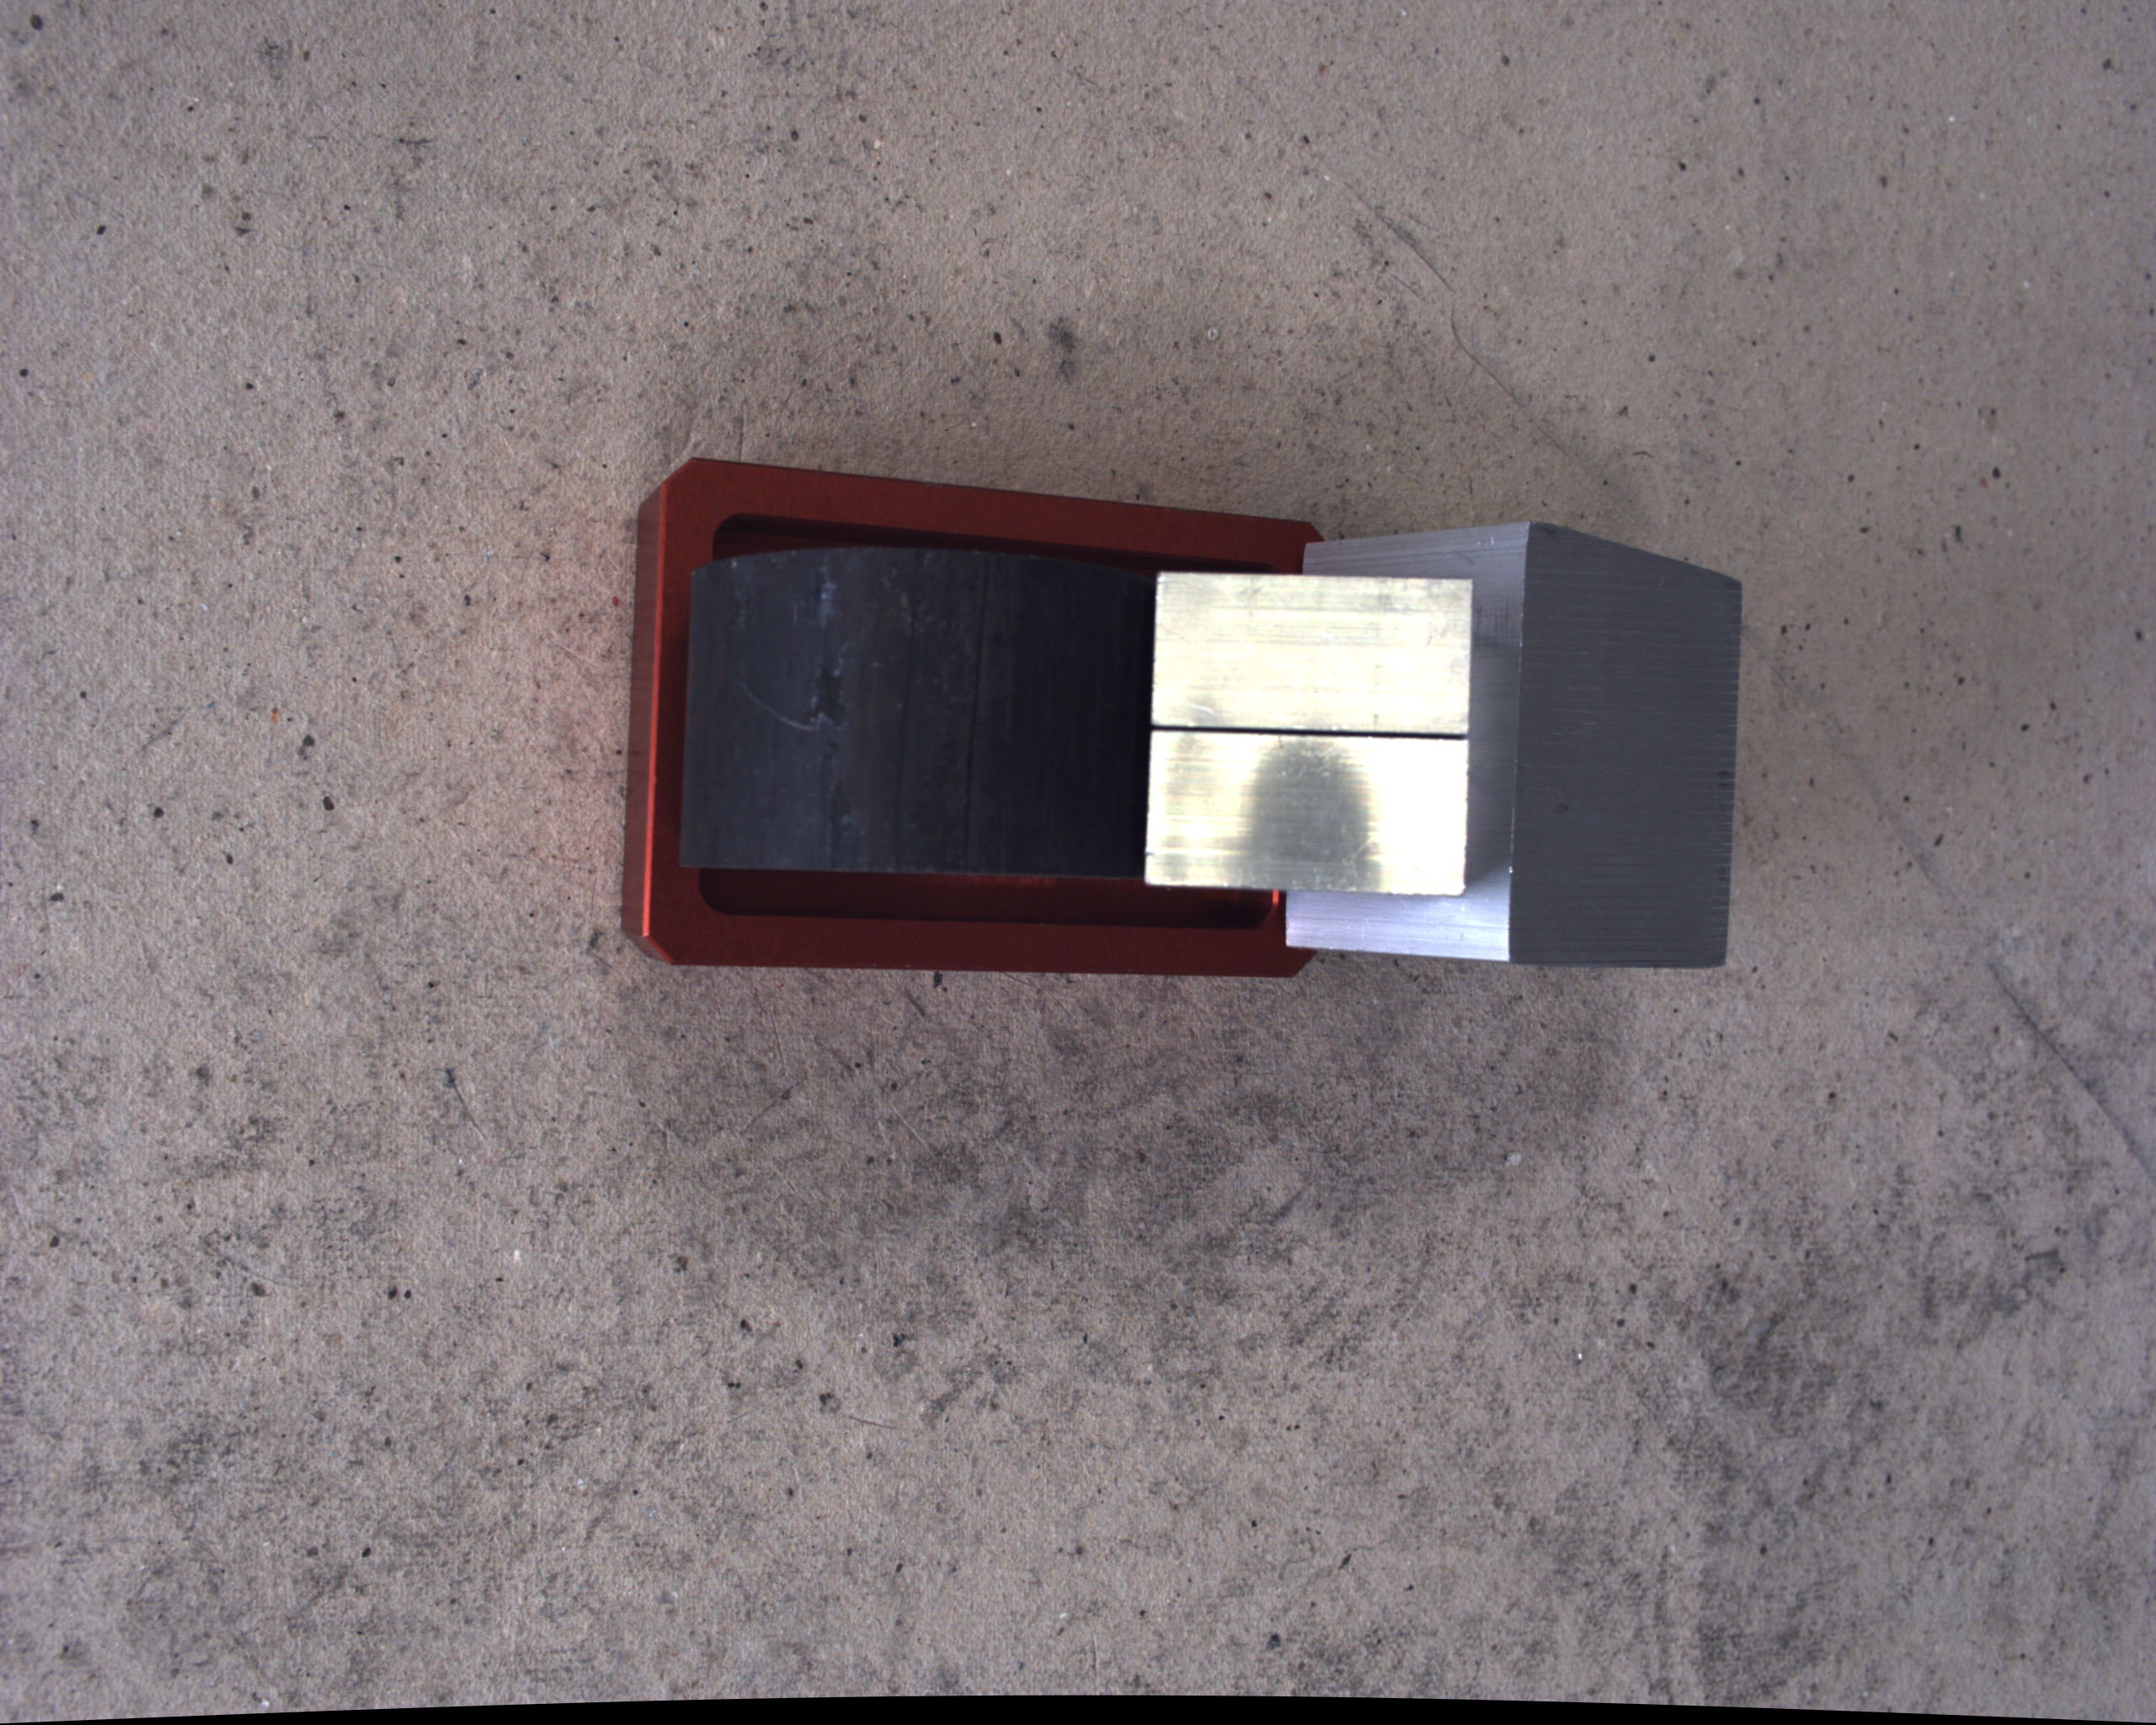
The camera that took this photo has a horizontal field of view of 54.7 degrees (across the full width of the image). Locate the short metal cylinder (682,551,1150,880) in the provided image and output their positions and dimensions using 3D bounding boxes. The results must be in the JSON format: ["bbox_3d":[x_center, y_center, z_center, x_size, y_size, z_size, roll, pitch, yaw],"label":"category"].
[{"bbox_3d":[-0.026,-0.023,0.358,0.081,0.080,0.050,1,90,-20],"label":"short metal cylinder"}]

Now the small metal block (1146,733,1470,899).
[{"bbox_3d":[0.039,-0.007,0.355,0.050,0.050,0.025,2,88,6],"label":"small metal block"}]

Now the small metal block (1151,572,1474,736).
[{"bbox_3d":[0.040,-0.032,0.356,0.050,0.050,0.025,2,88,6],"label":"small metal block"}]

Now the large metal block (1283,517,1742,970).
[{"bbox_3d":[0.088,-0.020,0.414,0.081,0.050,0.080,4,89,-46],"label":"large metal block"}]

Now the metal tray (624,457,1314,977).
[{"bbox_3d":[-0.018,-0.025,0.401,0.131,0.030,0.089,2,89,-20],"label":"metal tray"}]
